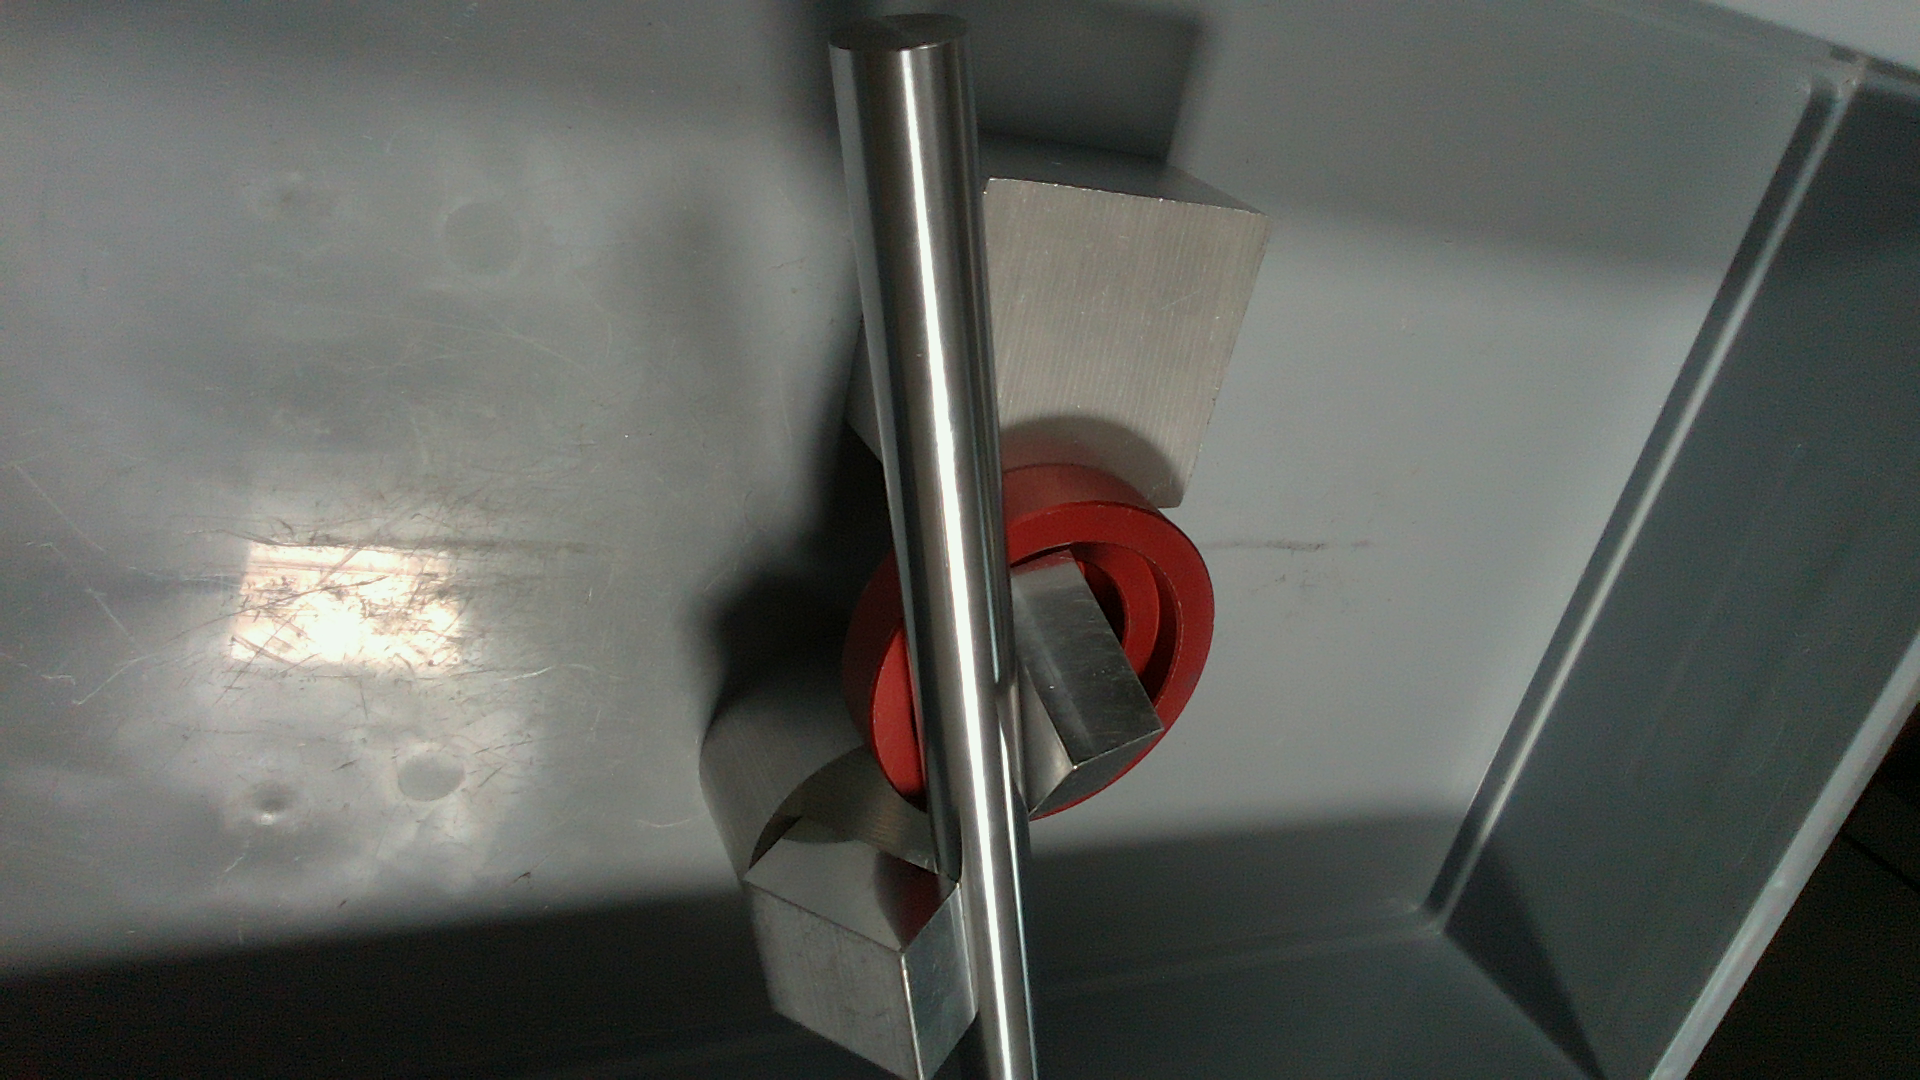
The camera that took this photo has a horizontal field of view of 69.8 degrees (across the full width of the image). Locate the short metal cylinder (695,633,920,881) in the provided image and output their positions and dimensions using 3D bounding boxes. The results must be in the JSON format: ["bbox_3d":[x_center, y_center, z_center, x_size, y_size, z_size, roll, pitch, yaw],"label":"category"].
[{"bbox_3d":[-0.031,0.074,0.401,0.080,0.050,0.080,-14,124,-21],"label":"short metal cylinder"}]

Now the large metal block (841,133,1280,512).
[{"bbox_3d":[0.023,-0.054,0.349,0.080,0.050,0.080,0,119,-28],"label":"large metal block"}]

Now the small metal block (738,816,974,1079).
[{"bbox_3d":[-0.026,0.106,0.355,0.025,0.050,0.050,-43,138,-43],"label":"small metal block"}]

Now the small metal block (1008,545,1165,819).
[{"bbox_3d":[0.021,0.037,0.344,0.025,0.050,0.050,-19,161,-21],"label":"small metal block"}]

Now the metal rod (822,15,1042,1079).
[{"bbox_3d":[0.000,0.037,0.321,0.025,0.025,0.300,-18,125,-18],"label":"metal rod"}]

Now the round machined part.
[{"bbox_3d":[0.015,0.024,0.362,0.098,0.042,0.098,-14,124,-21],"label":"round machined part"}]
